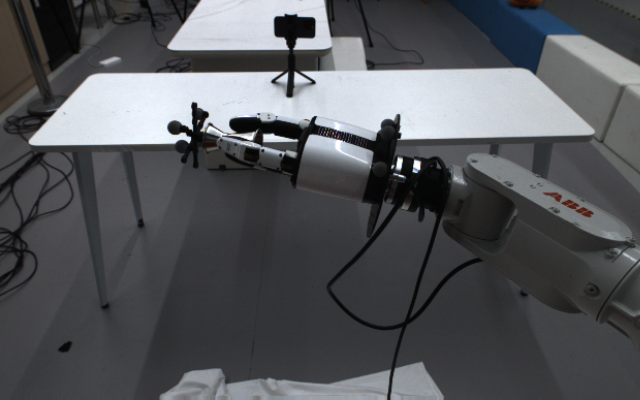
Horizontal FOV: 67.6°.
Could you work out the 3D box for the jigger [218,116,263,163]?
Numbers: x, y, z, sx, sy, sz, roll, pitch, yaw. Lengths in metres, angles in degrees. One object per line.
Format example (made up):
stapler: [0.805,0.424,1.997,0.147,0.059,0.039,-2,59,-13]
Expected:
jigger: [-0.107,-0.081,0.627,0.071,0.043,0.043,7,35,6]
